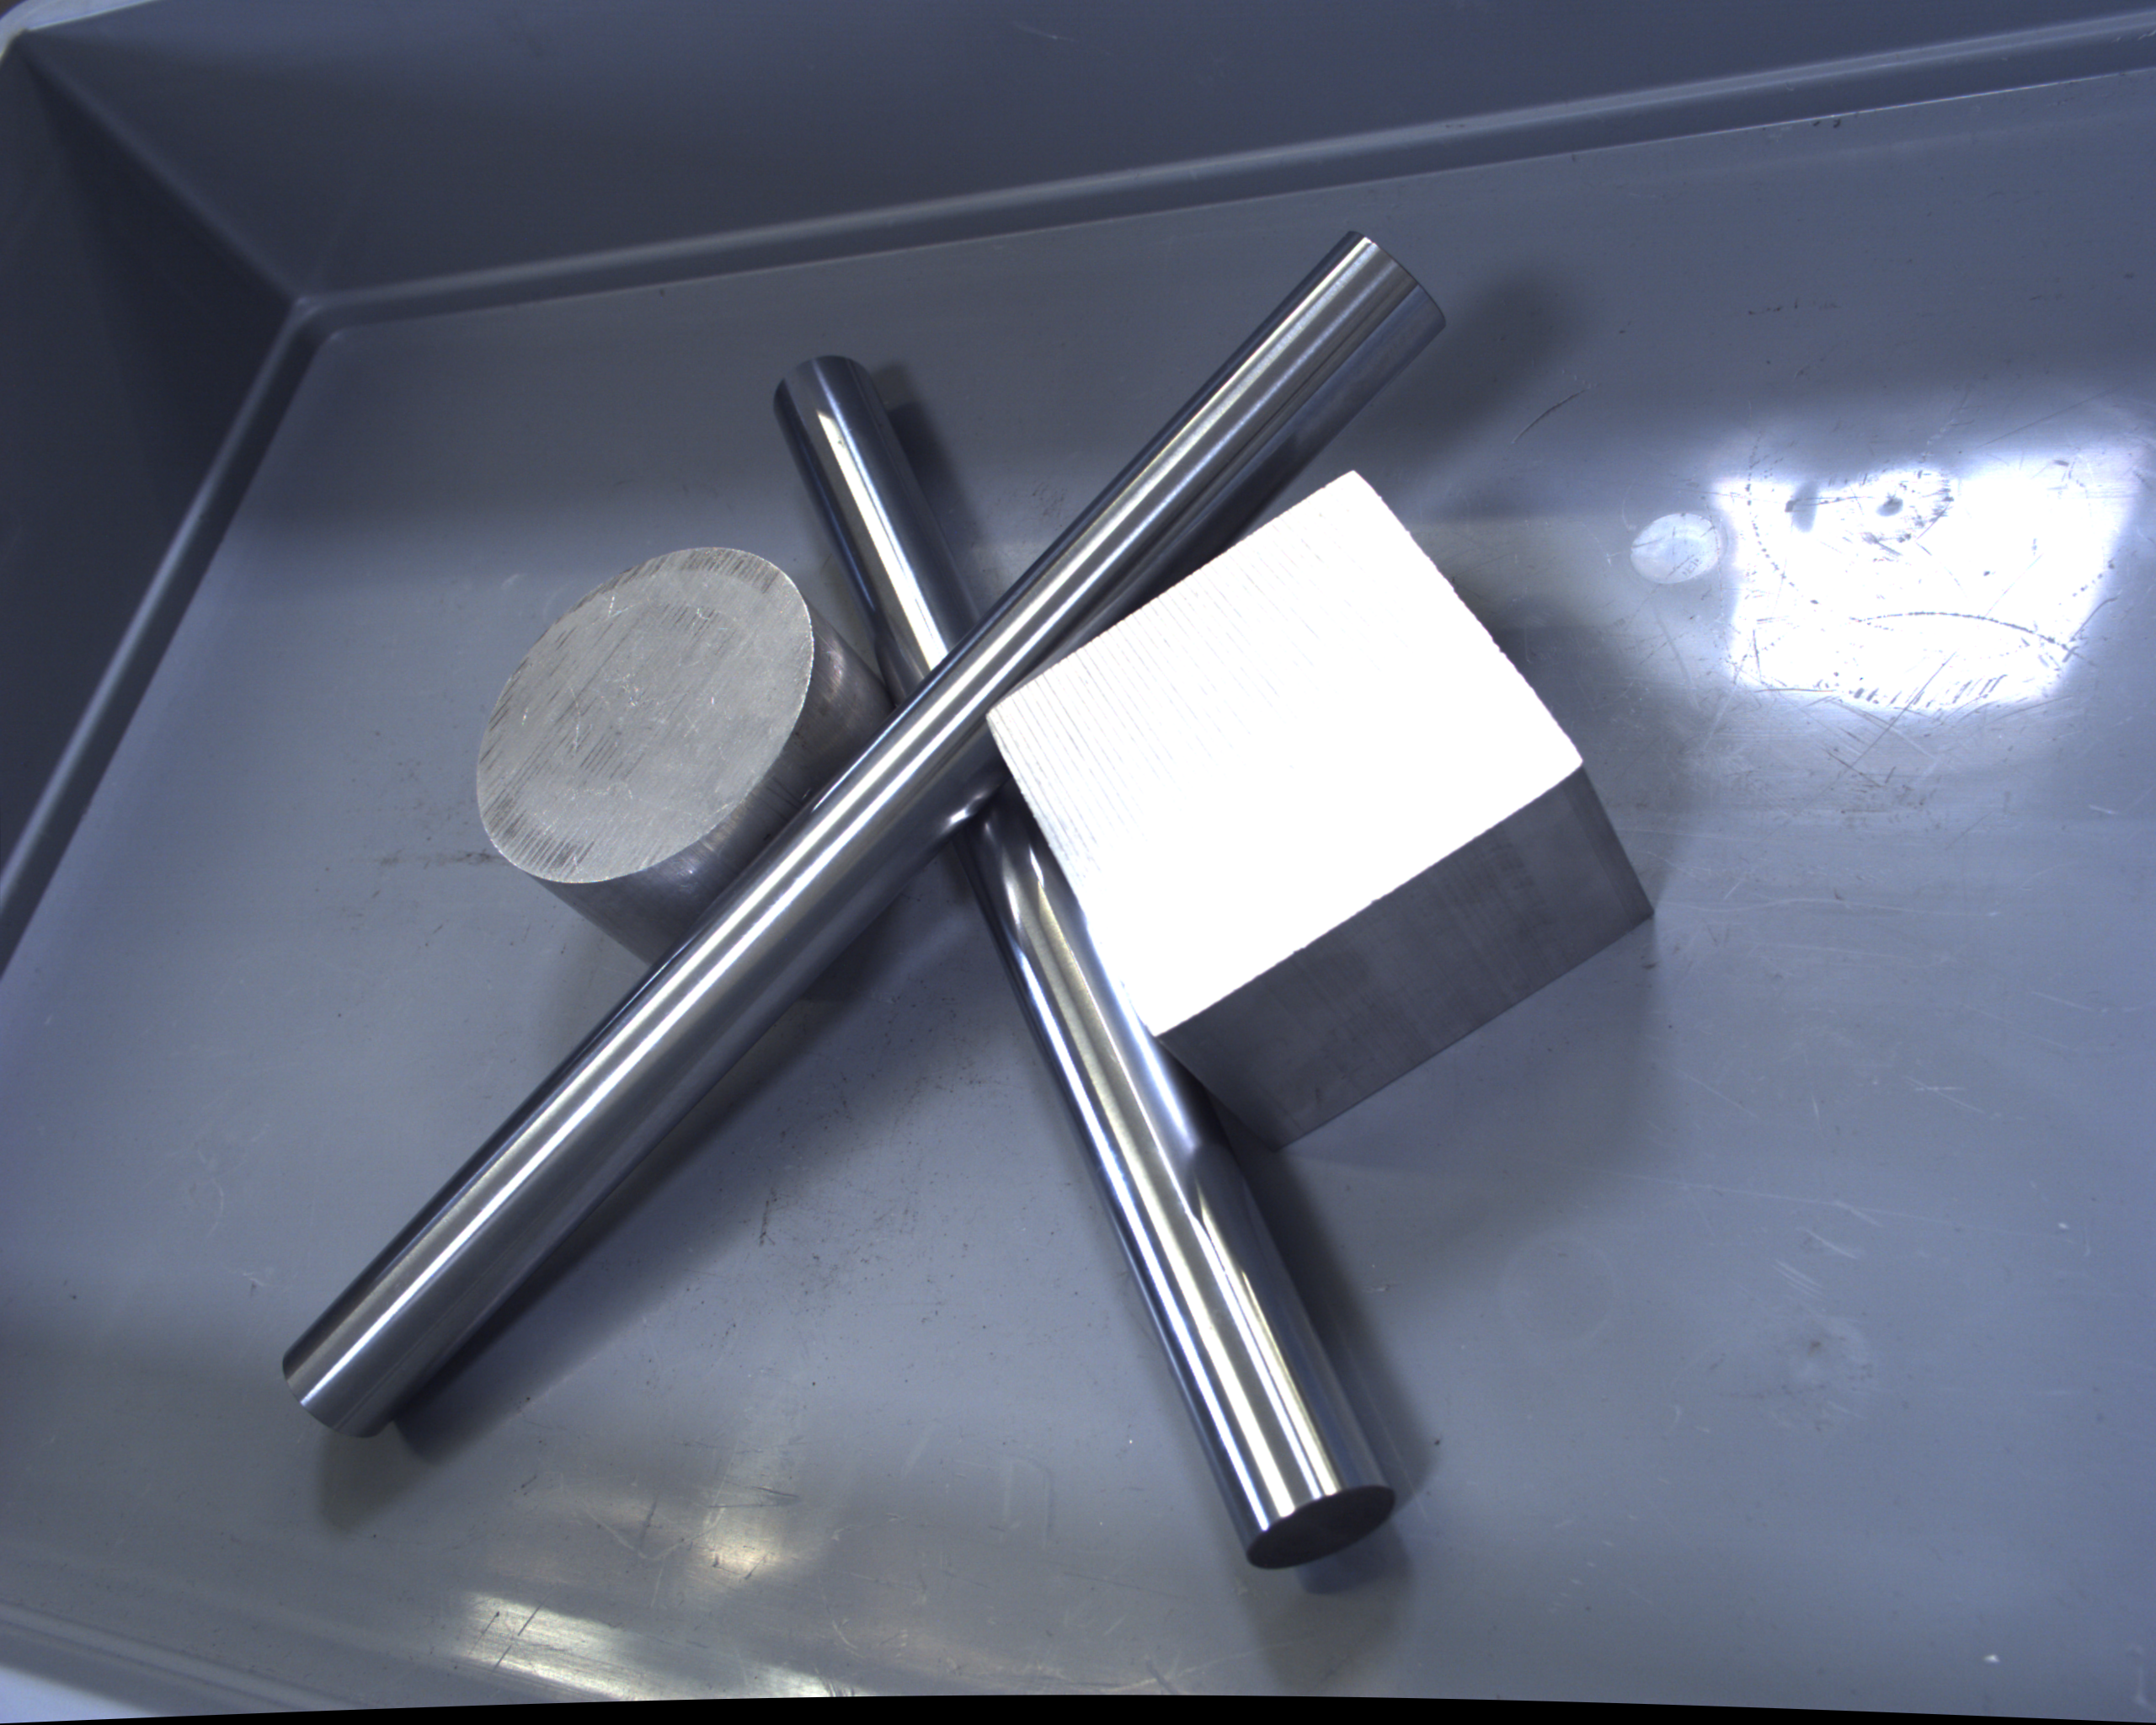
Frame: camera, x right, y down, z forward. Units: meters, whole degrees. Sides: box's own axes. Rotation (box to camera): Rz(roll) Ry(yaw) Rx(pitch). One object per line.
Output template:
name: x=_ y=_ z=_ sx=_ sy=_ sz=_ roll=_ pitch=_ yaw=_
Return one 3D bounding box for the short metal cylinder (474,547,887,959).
short metal cylinder: x=-0.078 y=-0.019 z=0.440 sx=0.080 sy=0.050 sz=0.080 roll=-13 pitch=56 yaw=21

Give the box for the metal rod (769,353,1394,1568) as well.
metal rod: x=-0.013 y=-0.005 z=0.412 sx=0.025 sy=0.025 sz=0.300 roll=-31 pitch=52 yaw=8

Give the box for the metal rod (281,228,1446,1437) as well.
metal rod: x=-0.045 y=-0.001 z=0.401 sx=0.300 sy=0.025 sz=0.025 roll=-46 pitch=51 yaw=7

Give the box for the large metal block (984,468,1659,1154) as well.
large metal block: x=0.042 y=-0.009 z=0.370 sx=0.080 sy=0.050 sz=0.080 roll=-33 pitch=52 yaw=6
